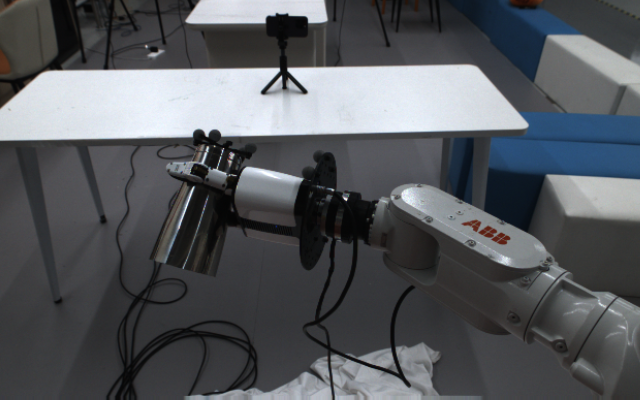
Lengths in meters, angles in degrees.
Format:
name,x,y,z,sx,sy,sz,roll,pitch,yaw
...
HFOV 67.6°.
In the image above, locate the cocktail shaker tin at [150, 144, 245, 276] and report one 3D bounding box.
name,x,y,z,sx,sy,sz,roll,pitch,yaw
cocktail shaker tin,-0.163,0.011,0.674,0.093,0.093,0.170,13,78,15
